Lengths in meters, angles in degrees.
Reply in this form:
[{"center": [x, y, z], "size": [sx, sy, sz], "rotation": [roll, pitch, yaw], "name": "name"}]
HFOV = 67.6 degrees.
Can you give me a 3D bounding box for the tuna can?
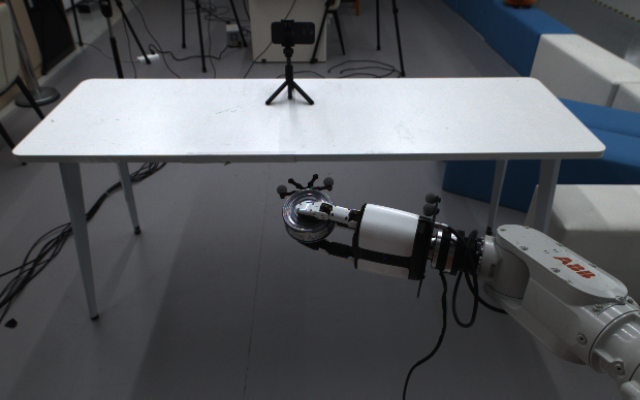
[{"center": [-0.014, 0.030, 0.779], "size": [0.085, 0.034, 0.085], "rotation": [-3, 58, 5], "name": "tuna can"}]
